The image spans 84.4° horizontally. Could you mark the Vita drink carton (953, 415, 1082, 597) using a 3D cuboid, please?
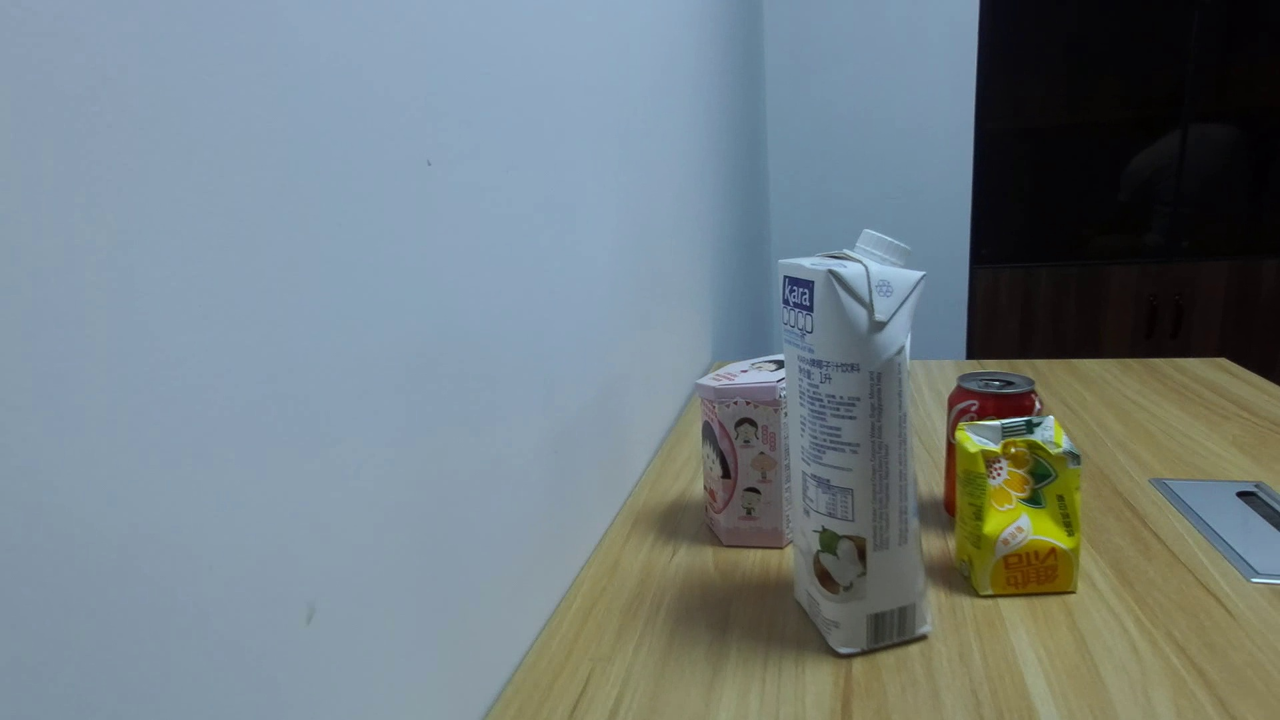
[{"bbox_3d":[0.251,0.097,0.469,0.071,0.109,0.046,-4,12,2],"label":"Vita drink carton"}]

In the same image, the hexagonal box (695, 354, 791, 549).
[{"bbox_3d":[0.095,0.071,0.563,0.085,0.135,0.092,-8,15,-12],"label":"hexagonal box"}]

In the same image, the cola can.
[{"bbox_3d":[0.277,0.070,0.559,0.068,0.120,0.068,-3,15,1],"label":"cola can"}]

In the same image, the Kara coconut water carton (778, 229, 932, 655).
[{"bbox_3d":[0.129,0.047,0.427,0.071,0.244,0.099,-7,16,-10],"label":"Kara coconut water carton"}]
